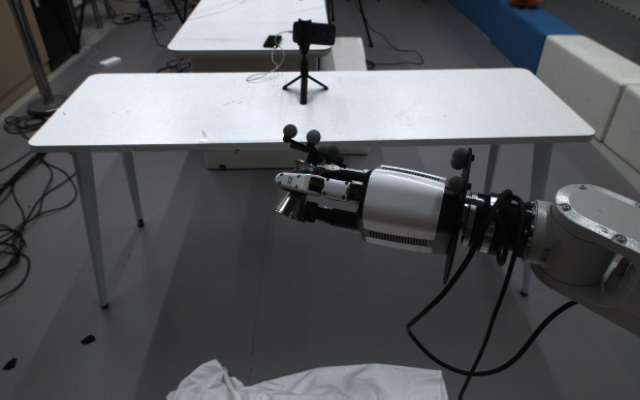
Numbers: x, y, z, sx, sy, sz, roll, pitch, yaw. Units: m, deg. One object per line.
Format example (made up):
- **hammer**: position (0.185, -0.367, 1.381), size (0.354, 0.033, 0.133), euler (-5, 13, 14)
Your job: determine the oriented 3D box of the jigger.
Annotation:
- **jigger**: position (-0.026, -0.012, 0.588), size (0.043, 0.071, 0.043), euler (24, -3, 1)
